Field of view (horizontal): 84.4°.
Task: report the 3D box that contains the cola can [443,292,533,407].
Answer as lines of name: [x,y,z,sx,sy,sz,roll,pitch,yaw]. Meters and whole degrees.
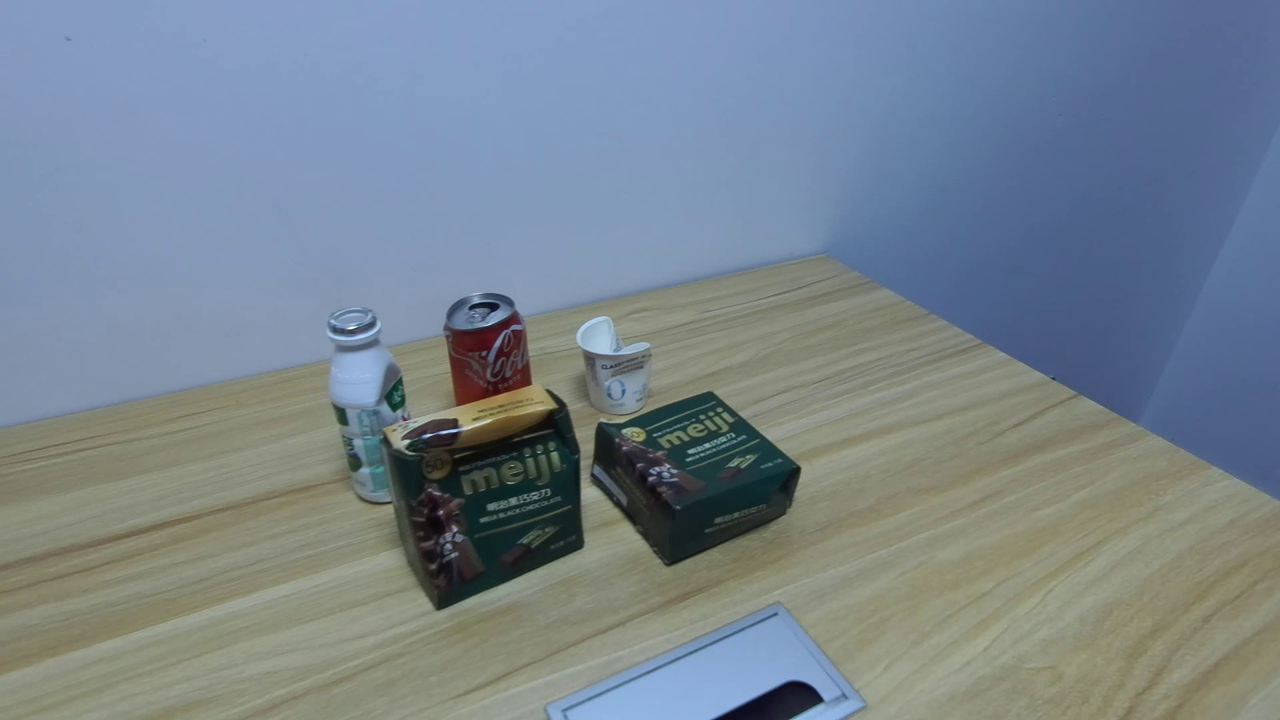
cola can: [-0.121,0.008,0.583,0.066,0.117,0.072,-19,35,-32]

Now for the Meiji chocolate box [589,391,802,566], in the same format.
Meiji chocolate box: [0.040,0.082,0.525,0.116,0.058,0.122,-15,35,-28]

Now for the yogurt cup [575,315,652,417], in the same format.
yogurt cup: [-0.023,0.008,0.629,0.067,0.070,0.067,2,32,-1]

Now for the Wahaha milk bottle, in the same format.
Wahaha milk bottle: [-0.194,0.033,0.512,0.056,0.148,0.056,1,31,0]

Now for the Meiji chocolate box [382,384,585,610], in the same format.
Meiji chocolate box: [-0.098,0.084,0.465,0.118,0.117,0.051,-17,27,-27]
